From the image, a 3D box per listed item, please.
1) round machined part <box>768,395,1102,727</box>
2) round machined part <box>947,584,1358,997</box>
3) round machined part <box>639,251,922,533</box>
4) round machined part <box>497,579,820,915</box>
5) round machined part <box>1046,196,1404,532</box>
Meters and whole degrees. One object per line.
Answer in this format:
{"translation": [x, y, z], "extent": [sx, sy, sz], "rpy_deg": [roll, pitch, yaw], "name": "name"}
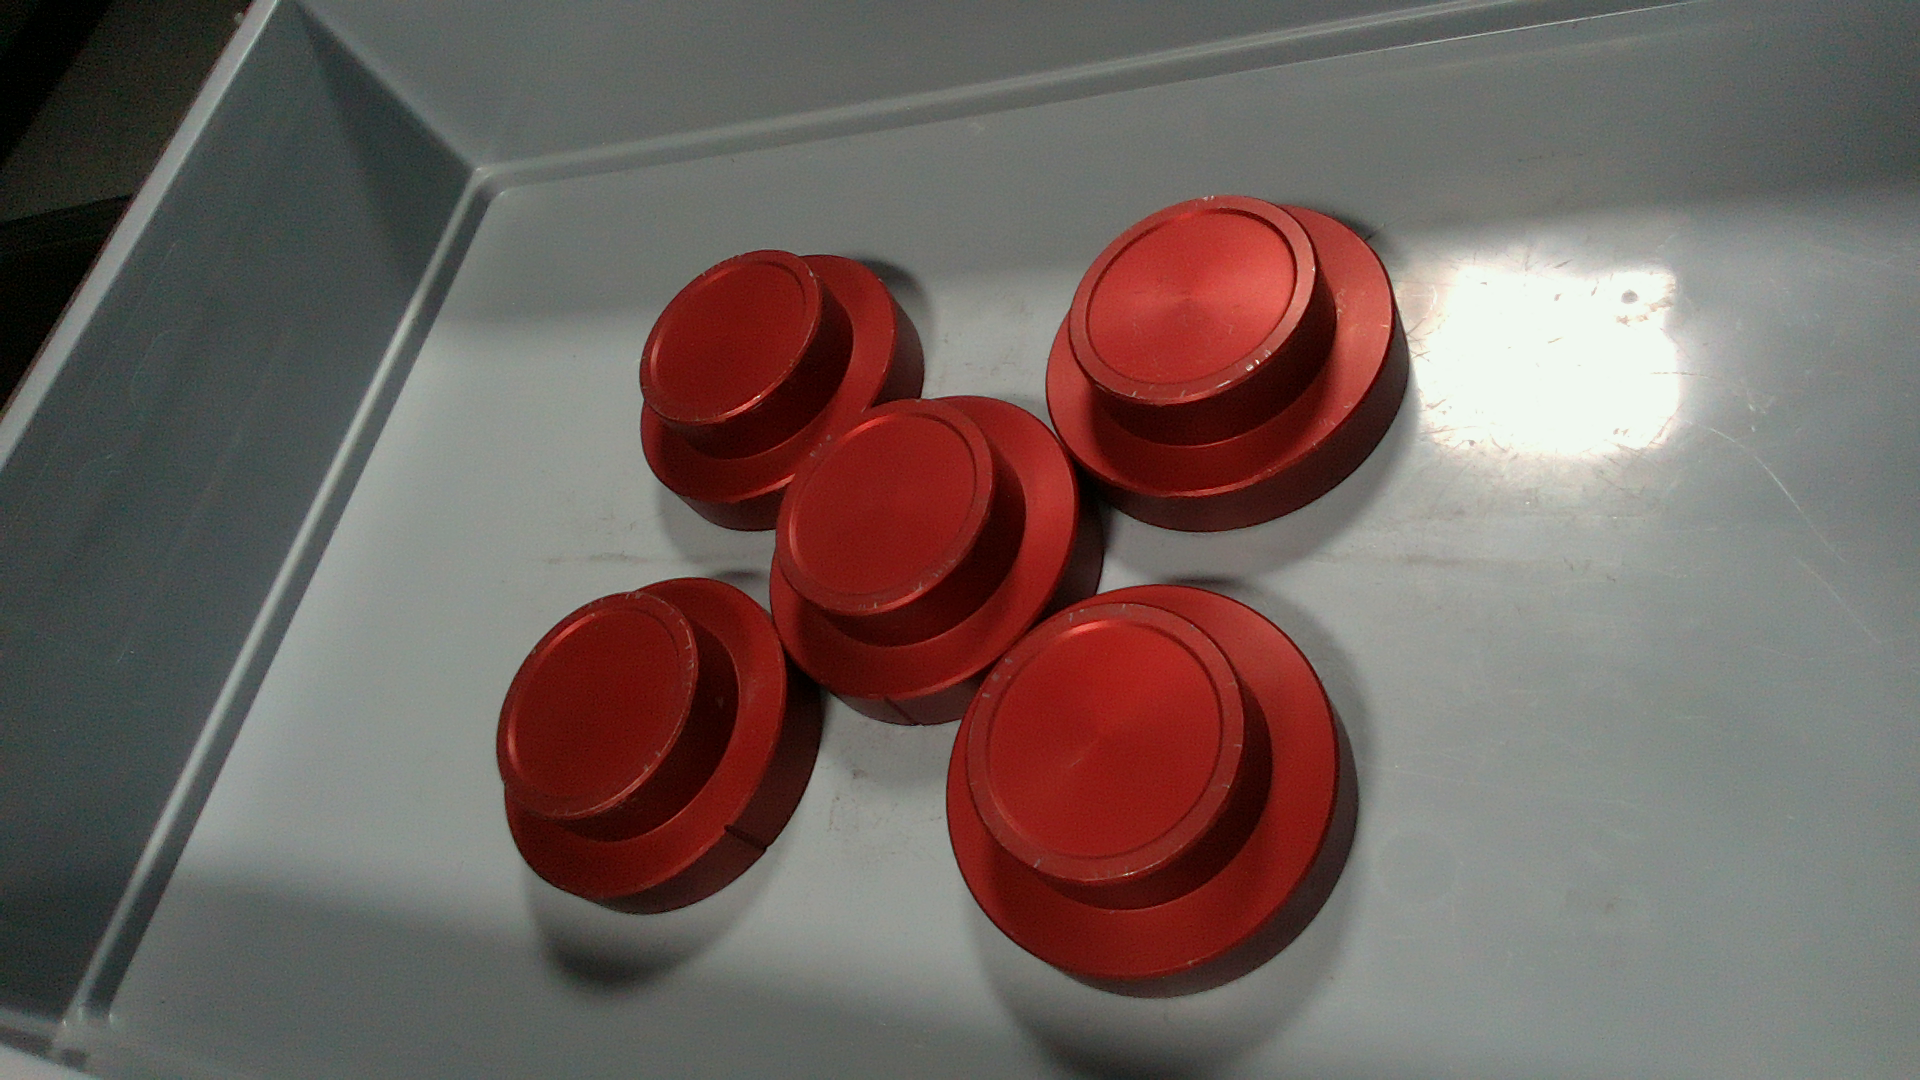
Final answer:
{"translation": [-0.013, -0.001, 0.388], "extent": [0.098, 0.042, 0.098], "rpy_deg": [-13, 56, 21], "name": "round machined part"}
{"translation": [0.041, 0.054, 0.327], "extent": [0.098, 0.042, 0.098], "rpy_deg": [-13, 56, 21], "name": "round machined part"}
{"translation": [-0.065, -0.055, 0.451], "extent": [0.098, 0.042, 0.098], "rpy_deg": [-13, 56, 21], "name": "round machined part"}
{"translation": [-0.093, 0.054, 0.399], "extent": [0.098, 0.042, 0.098], "rpy_deg": [-13, 56, 21], "name": "round machined part"}
{"translation": [0.069, -0.055, 0.378], "extent": [0.098, 0.042, 0.098], "rpy_deg": [-13, 56, 21], "name": "round machined part"}
